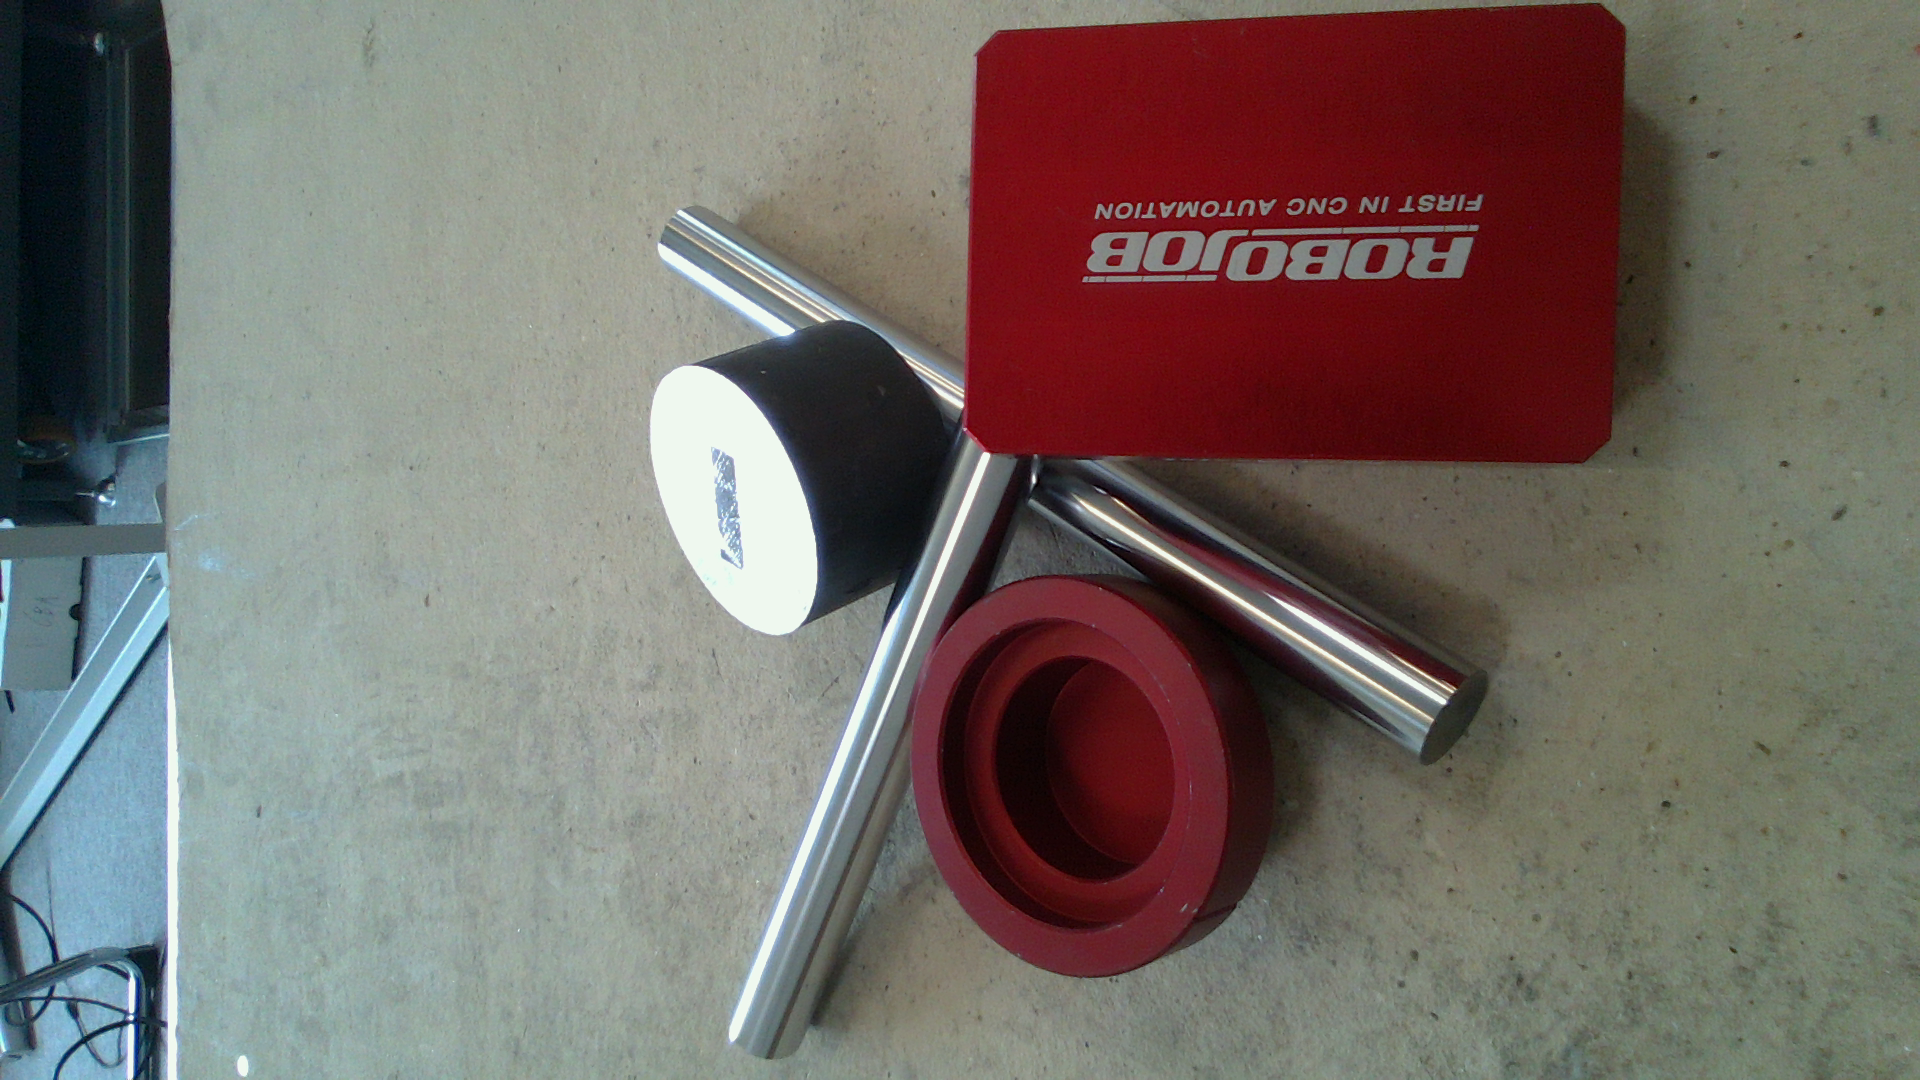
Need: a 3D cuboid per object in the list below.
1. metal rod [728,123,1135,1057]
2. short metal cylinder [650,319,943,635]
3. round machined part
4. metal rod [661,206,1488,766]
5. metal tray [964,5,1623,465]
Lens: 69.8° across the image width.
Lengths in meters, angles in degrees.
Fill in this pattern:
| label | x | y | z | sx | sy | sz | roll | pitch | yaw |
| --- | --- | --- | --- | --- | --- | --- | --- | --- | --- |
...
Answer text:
| label | x | y | z | sx | sy | sz | roll | pitch | yaw |
| --- | --- | --- | --- | --- | --- | --- | --- | --- | --- |
| metal rod | -0.013 | 0.033 | 0.383 | 0.025 | 0.025 | 0.300 | 40 | 121 | 33 |
| short metal cylinder | -0.047 | -0.019 | 0.401 | 0.080 | 0.050 | 0.080 | 30 | 132 | 40 |
| round machined part | 0.037 | 0.058 | 0.353 | 0.098 | 0.042 | 0.098 | 0 | 90 | 40 |
| metal rod | 0.009 | -0.032 | 0.389 | 0.299 | 0.025 | 0.025 | 35 | 112 | 34 |
| metal tray | 0.068 | -0.062 | 0.297 | 0.130 | 0.030 | 0.090 | 2 | 91 | 12 |
